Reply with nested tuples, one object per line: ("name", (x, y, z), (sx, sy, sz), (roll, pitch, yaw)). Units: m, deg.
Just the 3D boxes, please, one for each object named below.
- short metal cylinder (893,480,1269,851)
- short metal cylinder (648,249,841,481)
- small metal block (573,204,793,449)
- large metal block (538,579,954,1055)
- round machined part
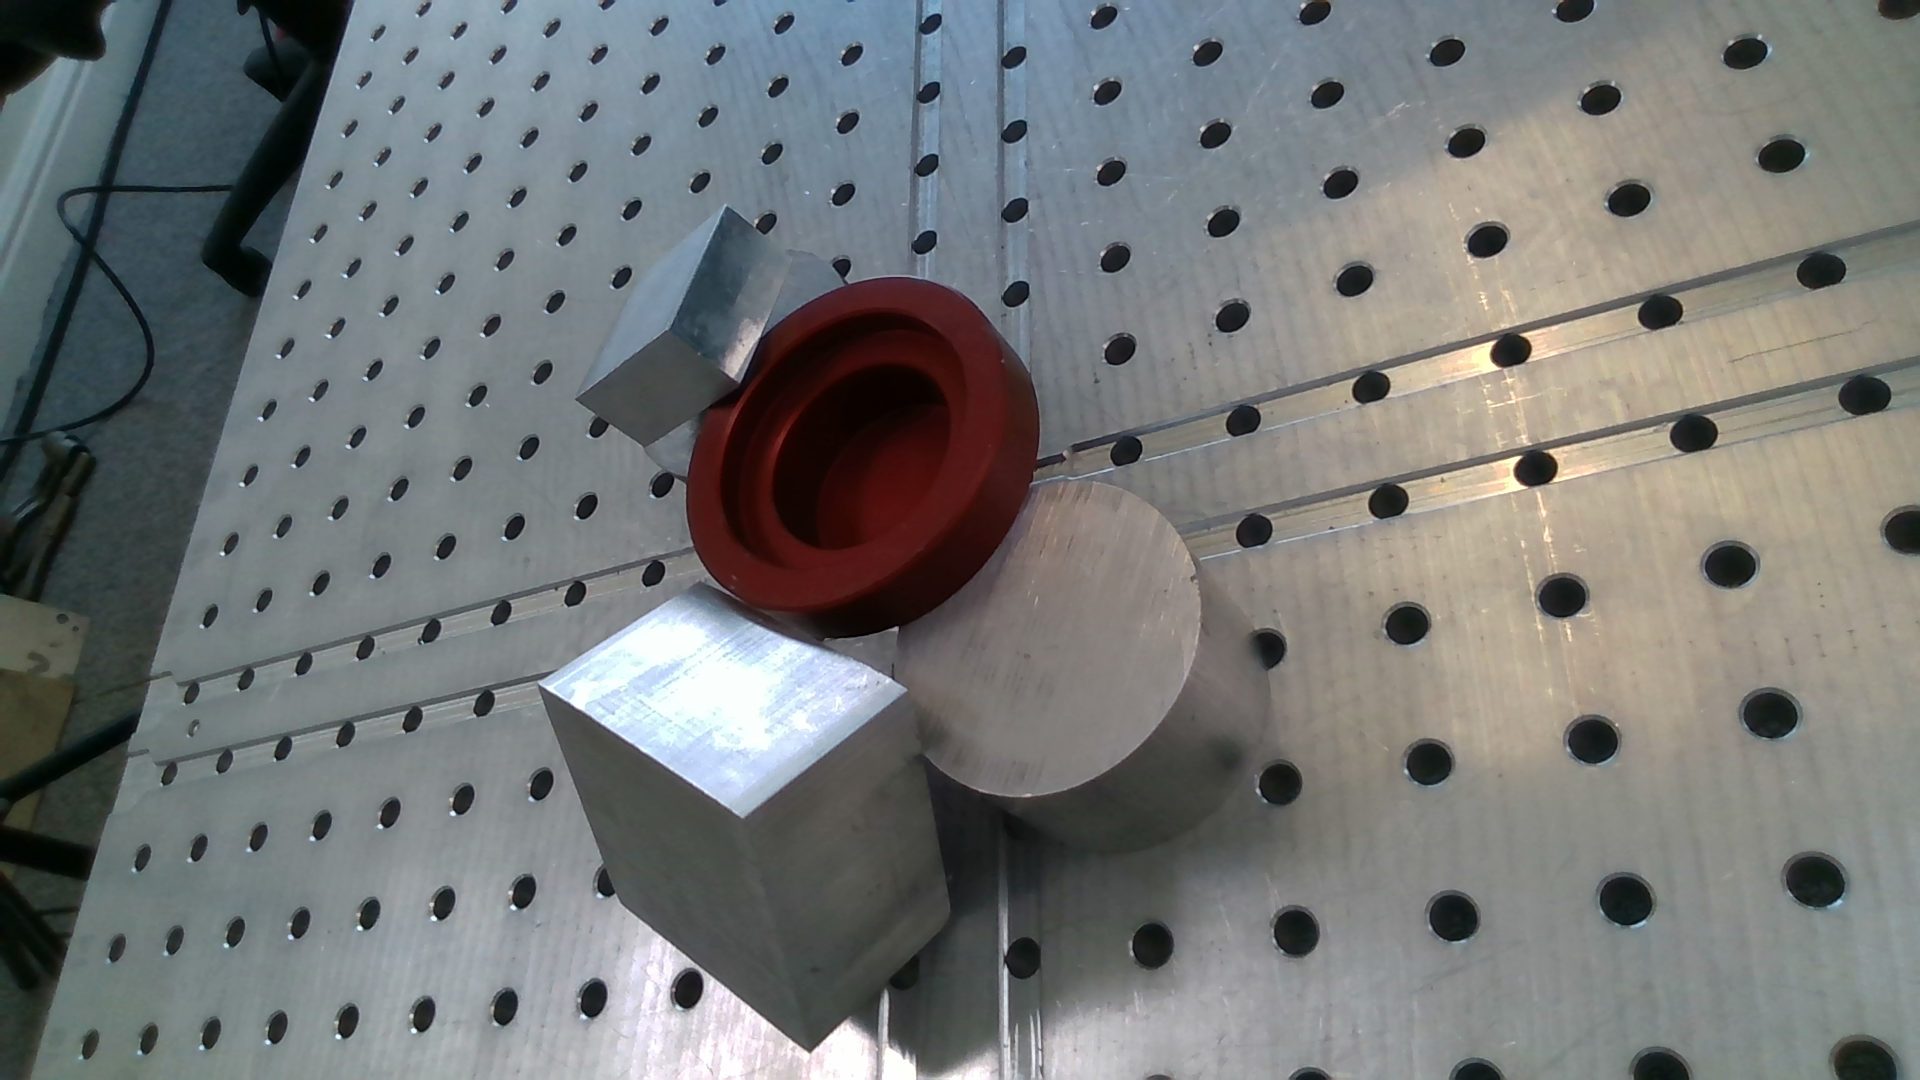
("short metal cylinder", (0.030, 0.032, 0.344), (0.080, 0.050, 0.080), (-14, 59, 25))
("short metal cylinder", (-0.056, -0.045, 0.438), (0.080, 0.050, 0.080), (-14, 59, 25))
("small metal block", (-0.080, -0.061, 0.396), (0.050, 0.025, 0.050), (-23, 40, 43))
("large metal block", (-0.052, 0.067, 0.349), (0.080, 0.080, 0.050), (23, 45, 38))
("round machined part", (-0.022, -0.019, 0.371), (0.098, 0.042, 0.098), (-14, 59, 25))
